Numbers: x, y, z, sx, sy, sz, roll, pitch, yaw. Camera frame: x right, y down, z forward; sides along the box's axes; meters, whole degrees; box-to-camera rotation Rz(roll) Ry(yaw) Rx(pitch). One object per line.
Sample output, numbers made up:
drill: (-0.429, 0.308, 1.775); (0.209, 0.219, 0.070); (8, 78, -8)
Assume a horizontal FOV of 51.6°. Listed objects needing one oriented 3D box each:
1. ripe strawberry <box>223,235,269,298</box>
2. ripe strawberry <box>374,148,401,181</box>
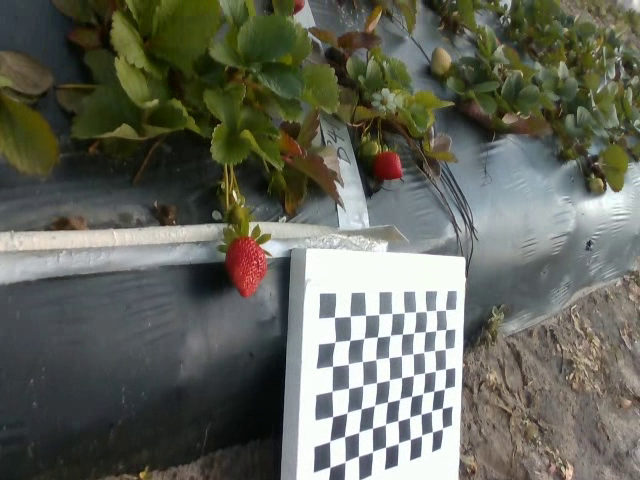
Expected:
ripe strawberry: (-0.053, 0.022, 0.476); (0.030, 0.052, 0.048); (-17, -50, 23)
ripe strawberry: (0.076, -0.078, 0.687); (0.037, 0.030, 0.048); (24, 20, -46)
